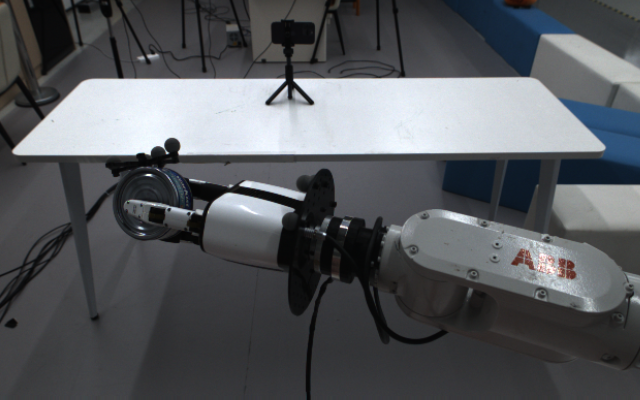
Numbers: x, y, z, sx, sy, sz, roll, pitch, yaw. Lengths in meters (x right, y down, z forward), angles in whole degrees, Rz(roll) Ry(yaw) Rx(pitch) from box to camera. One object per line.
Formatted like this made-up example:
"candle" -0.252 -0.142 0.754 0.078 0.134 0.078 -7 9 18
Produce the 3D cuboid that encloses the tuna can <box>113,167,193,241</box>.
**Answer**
"tuna can" -0.189 0.009 0.553 0.085 0.085 0.034 12 3 14
